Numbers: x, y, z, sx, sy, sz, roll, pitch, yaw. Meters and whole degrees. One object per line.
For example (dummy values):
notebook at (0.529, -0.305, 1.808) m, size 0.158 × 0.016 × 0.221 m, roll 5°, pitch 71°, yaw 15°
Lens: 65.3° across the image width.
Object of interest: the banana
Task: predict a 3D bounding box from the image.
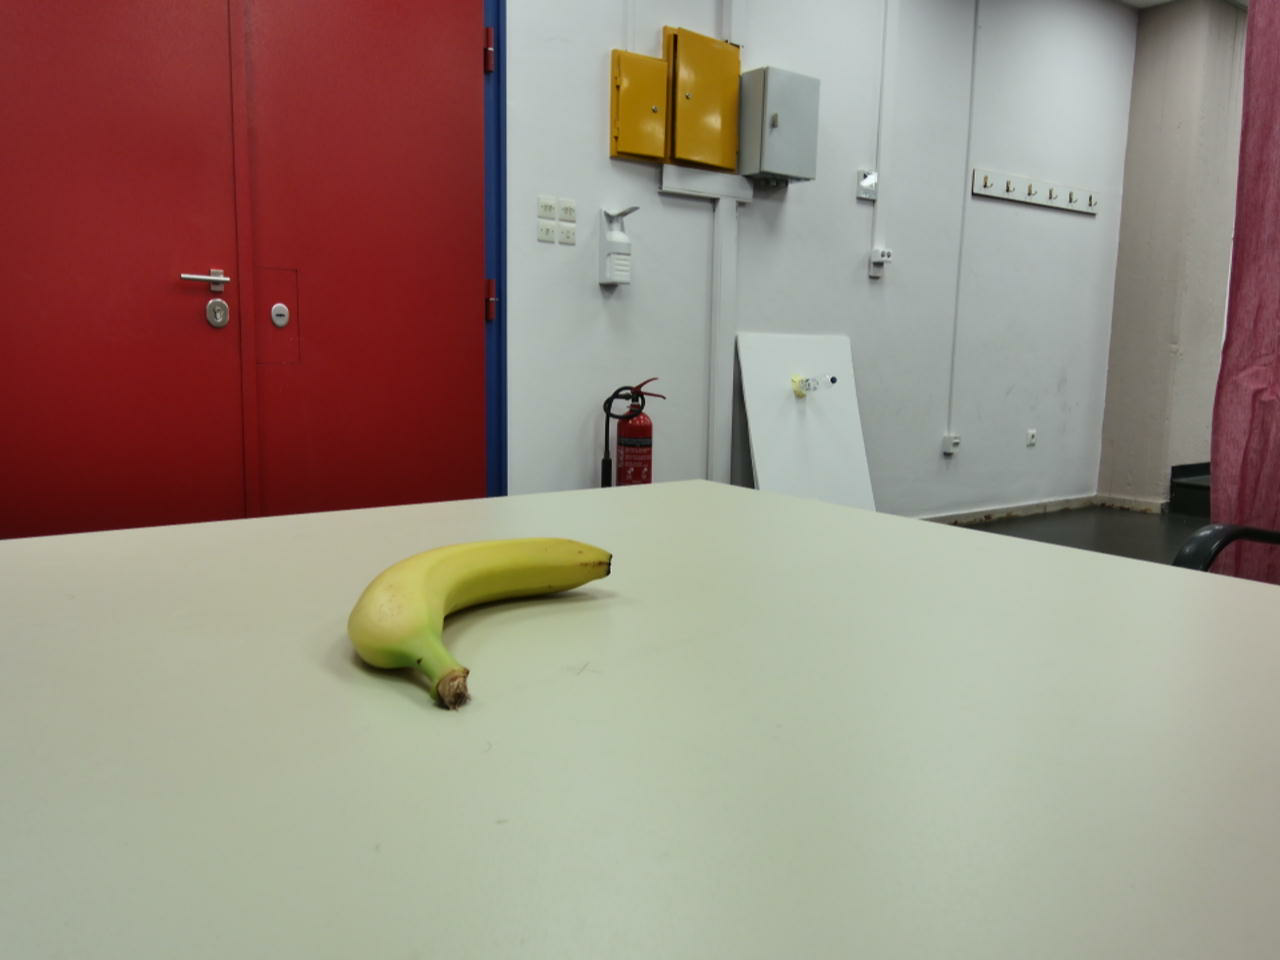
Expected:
banana at (-0.086, 0.058, 0.494) m, size 0.094 × 0.041 × 0.196 m, roll 2°, pitch 6°, yaw 17°
